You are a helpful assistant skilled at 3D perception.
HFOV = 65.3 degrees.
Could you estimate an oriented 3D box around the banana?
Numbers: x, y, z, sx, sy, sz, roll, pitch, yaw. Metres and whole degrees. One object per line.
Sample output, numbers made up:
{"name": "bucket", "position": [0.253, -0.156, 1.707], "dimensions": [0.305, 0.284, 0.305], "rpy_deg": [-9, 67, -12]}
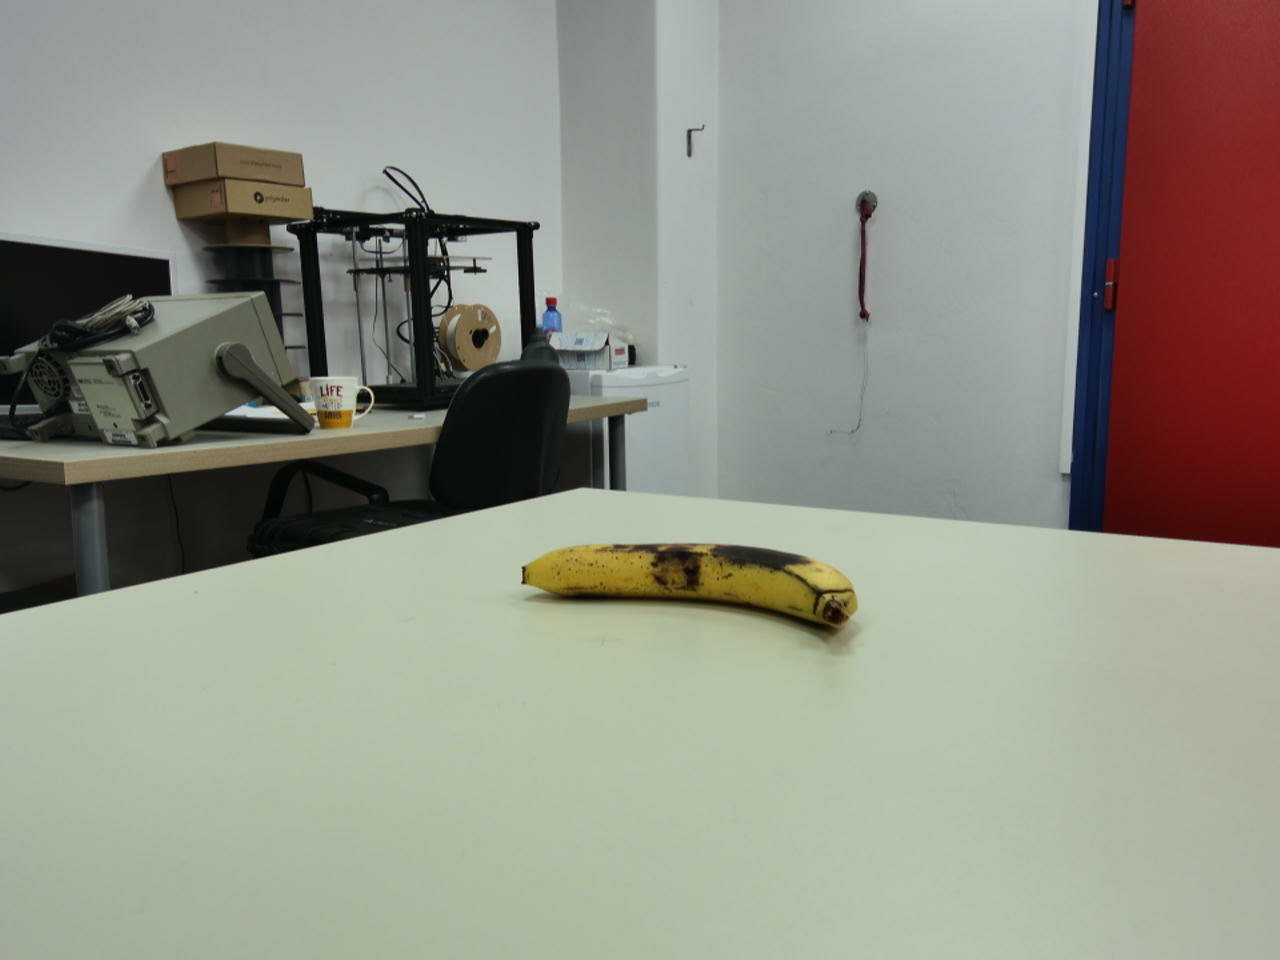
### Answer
{"name": "banana", "position": [0.036, 0.060, 0.605], "dimensions": [0.222, 0.037, 0.084], "rpy_deg": [5, 8, 35]}
